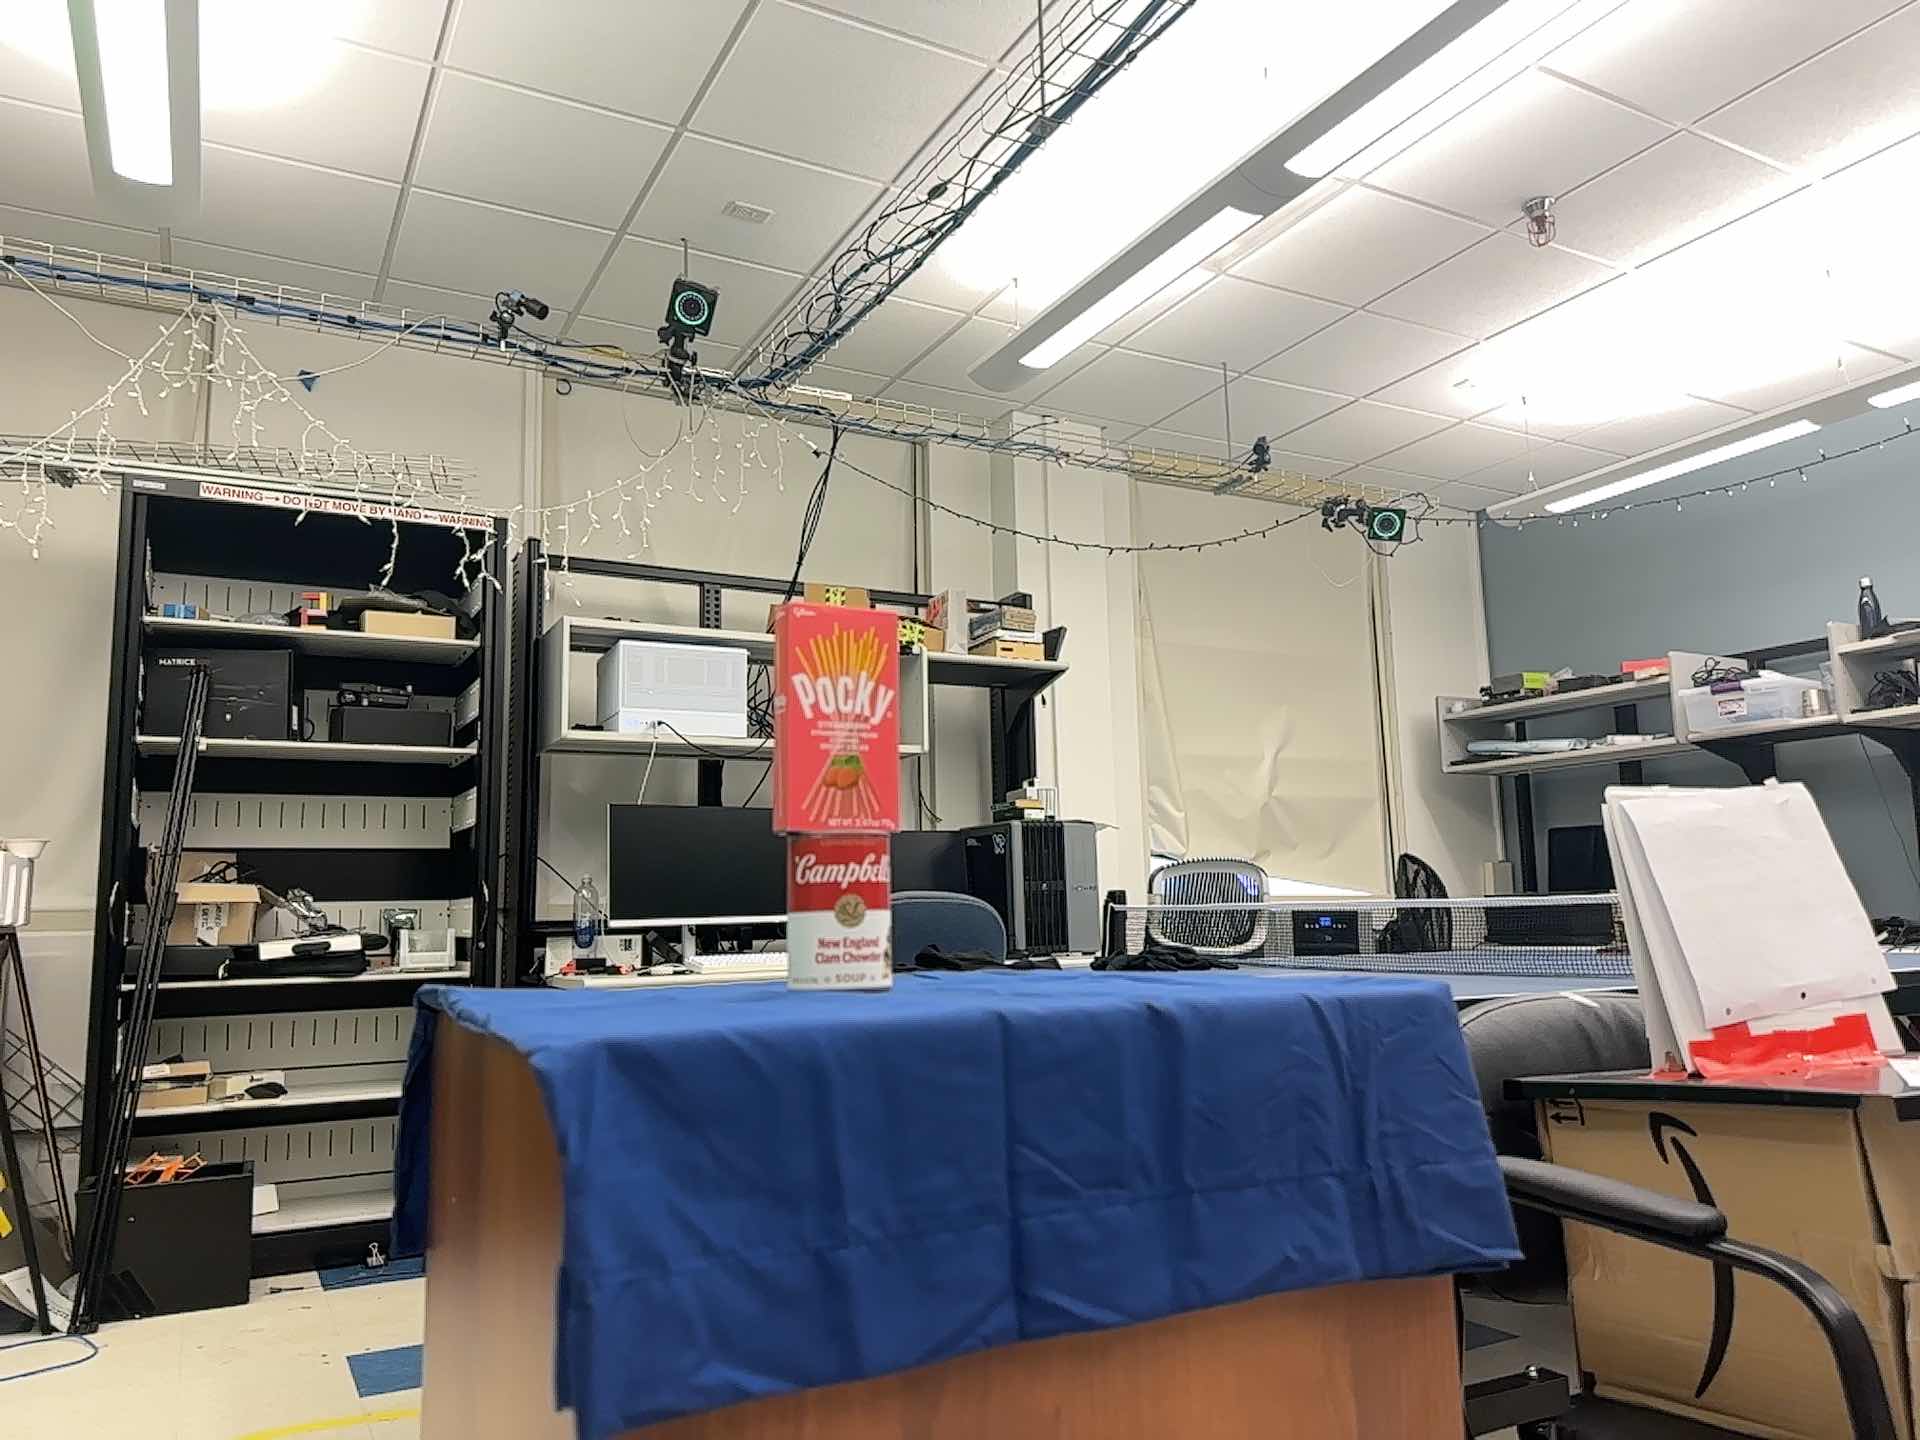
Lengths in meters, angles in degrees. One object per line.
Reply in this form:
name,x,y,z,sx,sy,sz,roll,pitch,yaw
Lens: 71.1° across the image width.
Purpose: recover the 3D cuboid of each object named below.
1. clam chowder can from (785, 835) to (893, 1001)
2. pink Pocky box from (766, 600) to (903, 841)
clam chowder can,-0.079,0.127,0.868,0.068,0.102,0.068,-2,-8,0
pink Pocky box,-0.083,0.000,0.881,0.084,0.155,0.029,2,-8,-23
